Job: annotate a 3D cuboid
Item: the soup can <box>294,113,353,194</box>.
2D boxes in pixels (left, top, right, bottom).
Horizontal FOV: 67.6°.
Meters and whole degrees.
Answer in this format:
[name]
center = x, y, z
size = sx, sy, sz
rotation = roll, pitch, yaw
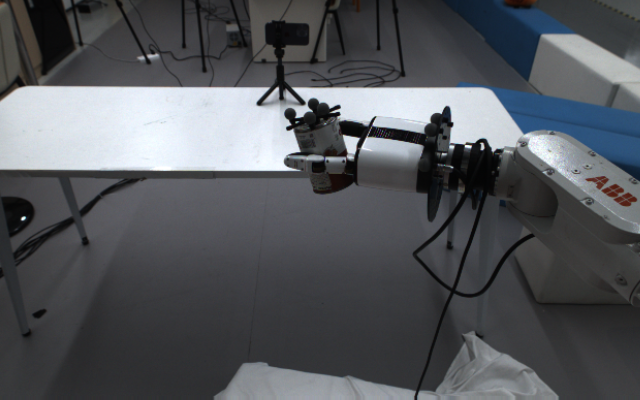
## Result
[soup can]
center = 0.007, -0.068, 0.712
size = 0.067, 0.101, 0.067
rotation = -16, 23, 7
